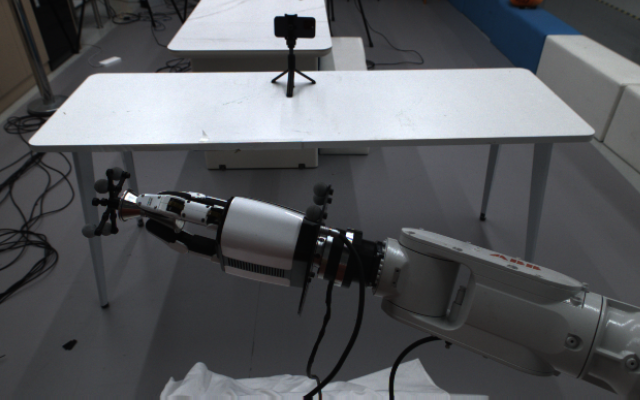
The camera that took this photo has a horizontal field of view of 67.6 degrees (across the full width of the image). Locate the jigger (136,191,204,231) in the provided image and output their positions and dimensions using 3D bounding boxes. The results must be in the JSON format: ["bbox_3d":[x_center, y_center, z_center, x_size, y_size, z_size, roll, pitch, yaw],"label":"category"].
[{"bbox_3d":[-0.191,0.010,0.577,0.071,0.043,0.043,11,35,1],"label":"jigger"}]
